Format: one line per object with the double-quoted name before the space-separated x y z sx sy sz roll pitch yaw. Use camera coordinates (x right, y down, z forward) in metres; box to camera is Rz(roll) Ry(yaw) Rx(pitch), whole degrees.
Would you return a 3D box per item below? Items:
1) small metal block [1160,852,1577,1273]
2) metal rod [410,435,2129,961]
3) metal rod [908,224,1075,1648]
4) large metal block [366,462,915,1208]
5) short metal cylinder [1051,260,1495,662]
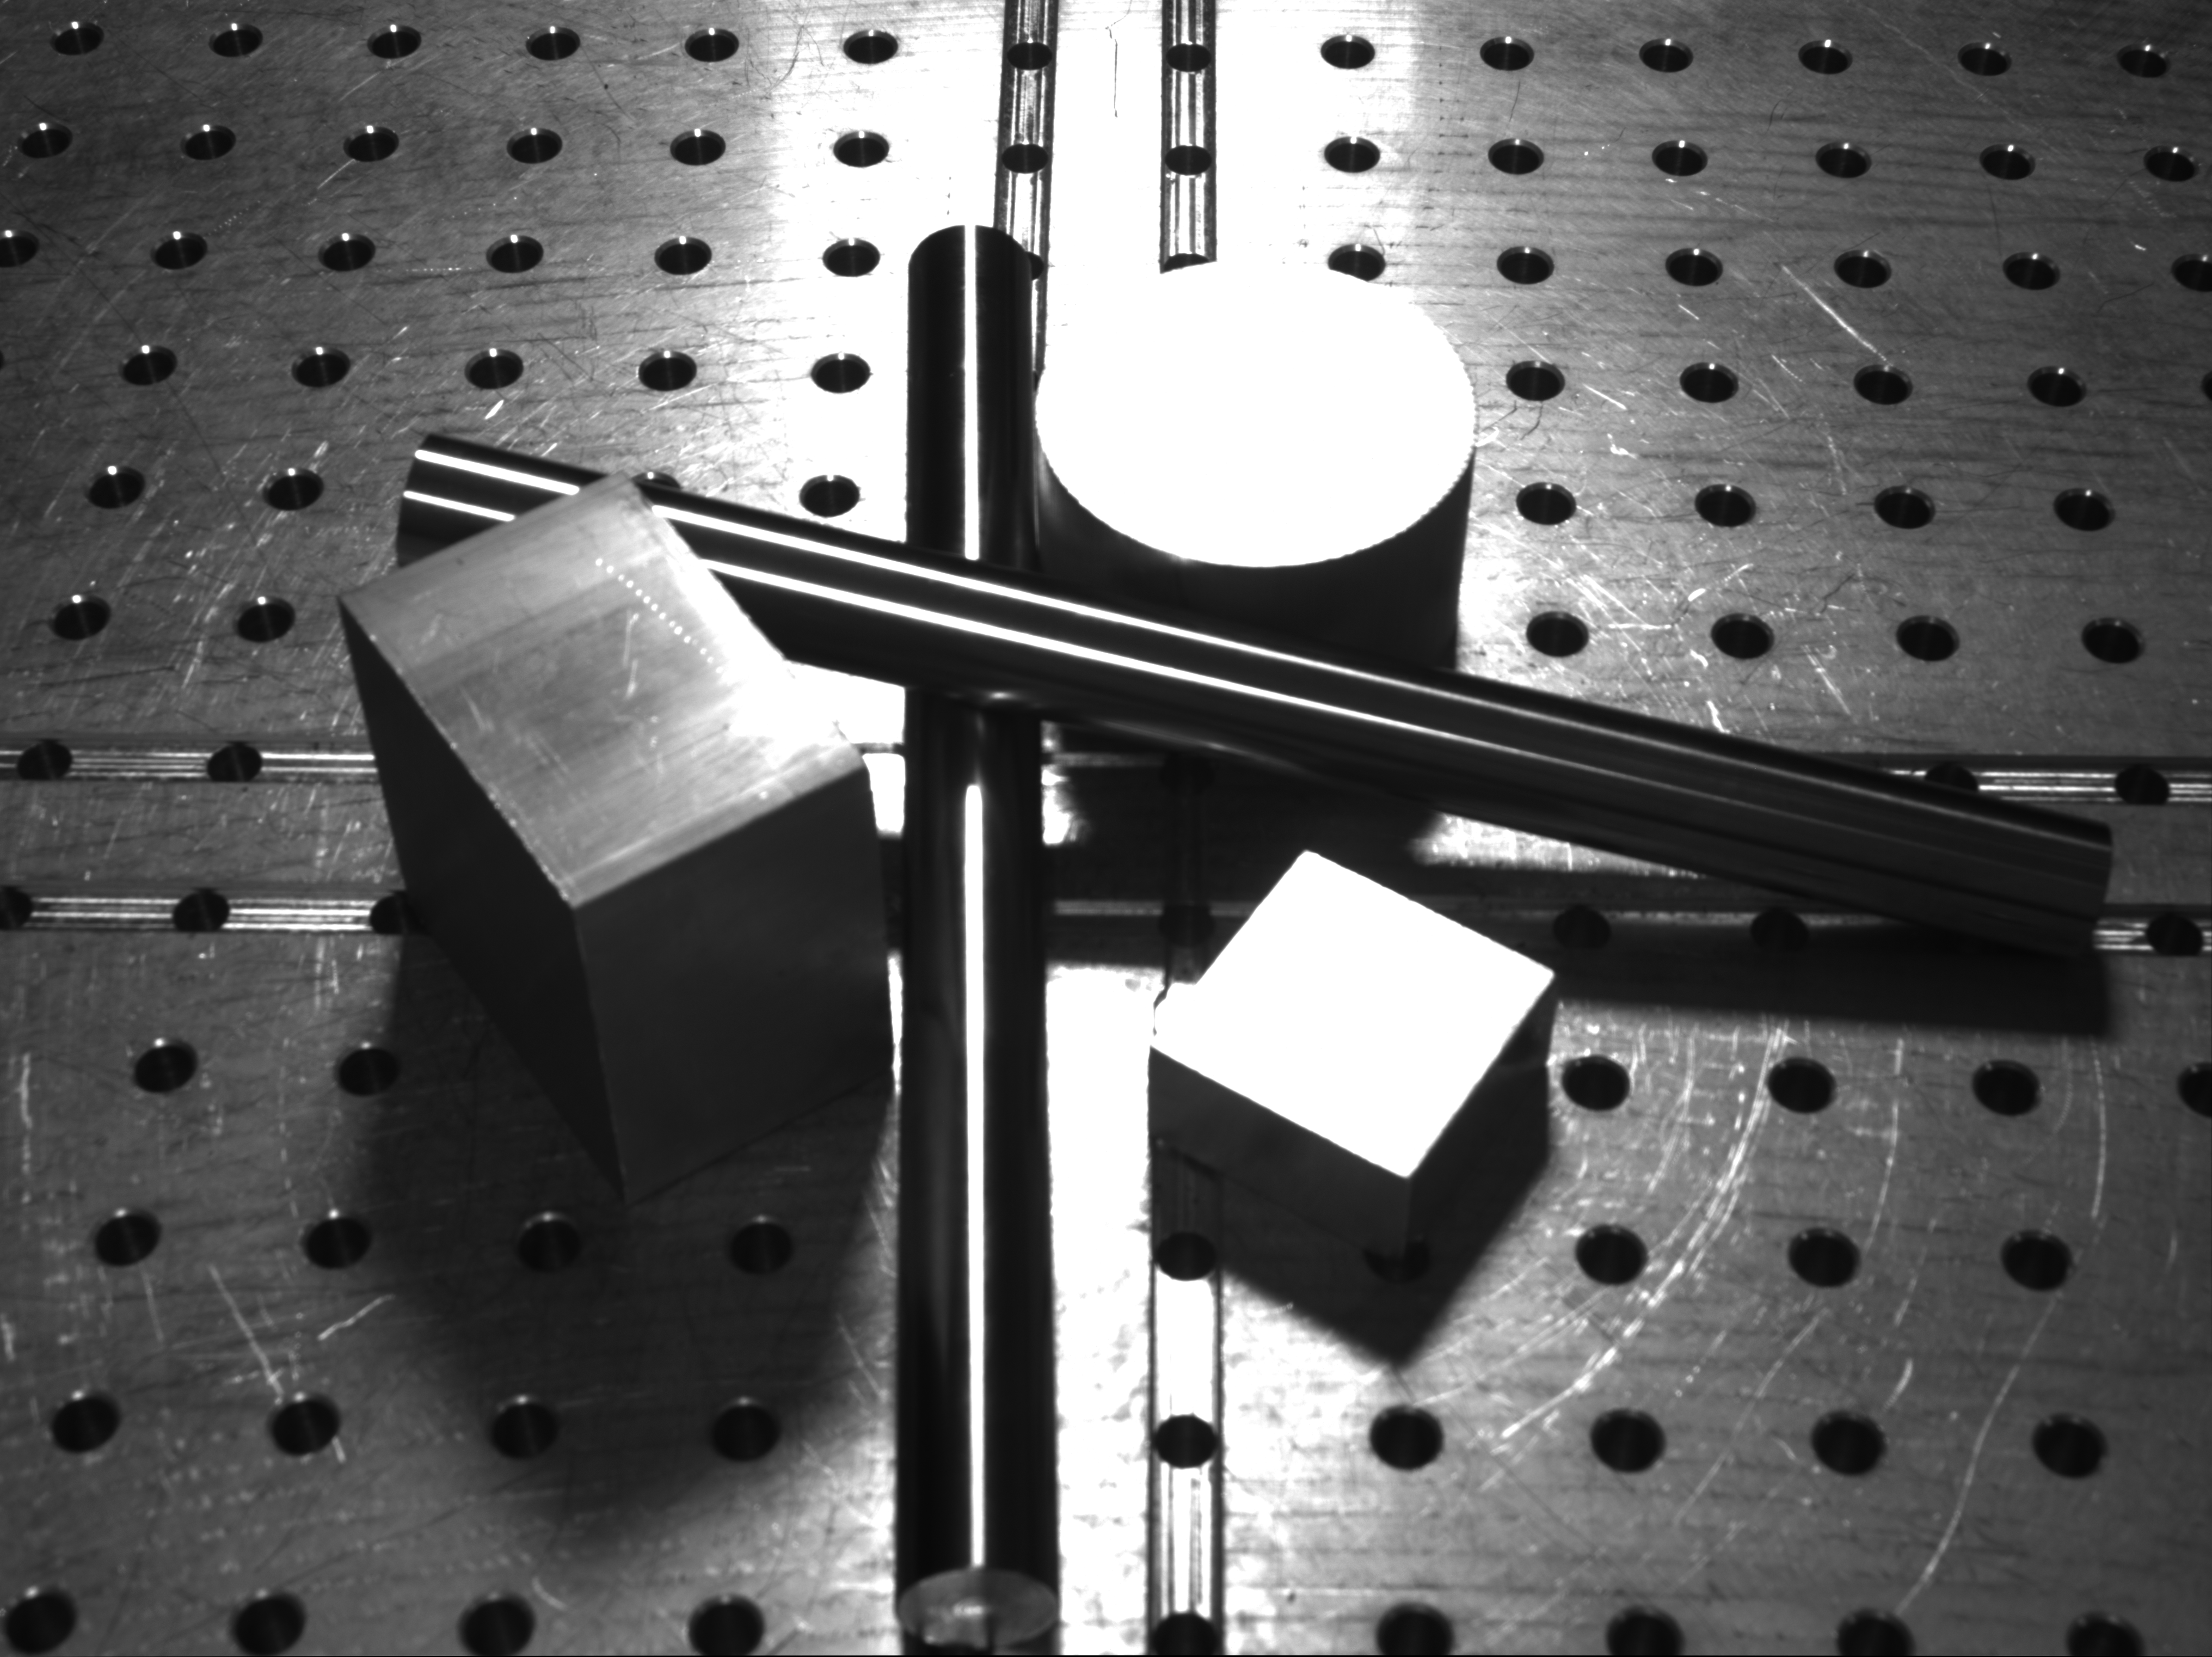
"small metal block" 0.044 0.038 0.614 0.050 0.025 0.050 27 55 21
"metal rod" 0.028 -0.023 0.640 0.300 0.025 0.025 13 51 1
"metal rod" -0.021 0.002 0.644 0.025 0.025 0.300 -1 50 -1
"large metal block" -0.075 0.001 0.607 0.050 0.080 0.080 -28 55 -21
"short metal cylinder" 0.030 -0.060 0.679 0.080 0.050 0.080 0 50 0
